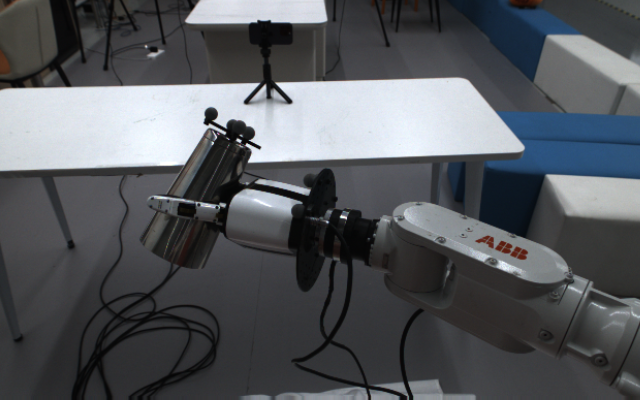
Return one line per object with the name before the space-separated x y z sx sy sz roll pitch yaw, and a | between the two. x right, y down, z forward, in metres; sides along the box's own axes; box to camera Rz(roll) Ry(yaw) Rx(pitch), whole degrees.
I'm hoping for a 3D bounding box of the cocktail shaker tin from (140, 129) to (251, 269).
cocktail shaker tin | -0.158 -0.008 0.644 0.093 0.170 0.093 28 2 -1
